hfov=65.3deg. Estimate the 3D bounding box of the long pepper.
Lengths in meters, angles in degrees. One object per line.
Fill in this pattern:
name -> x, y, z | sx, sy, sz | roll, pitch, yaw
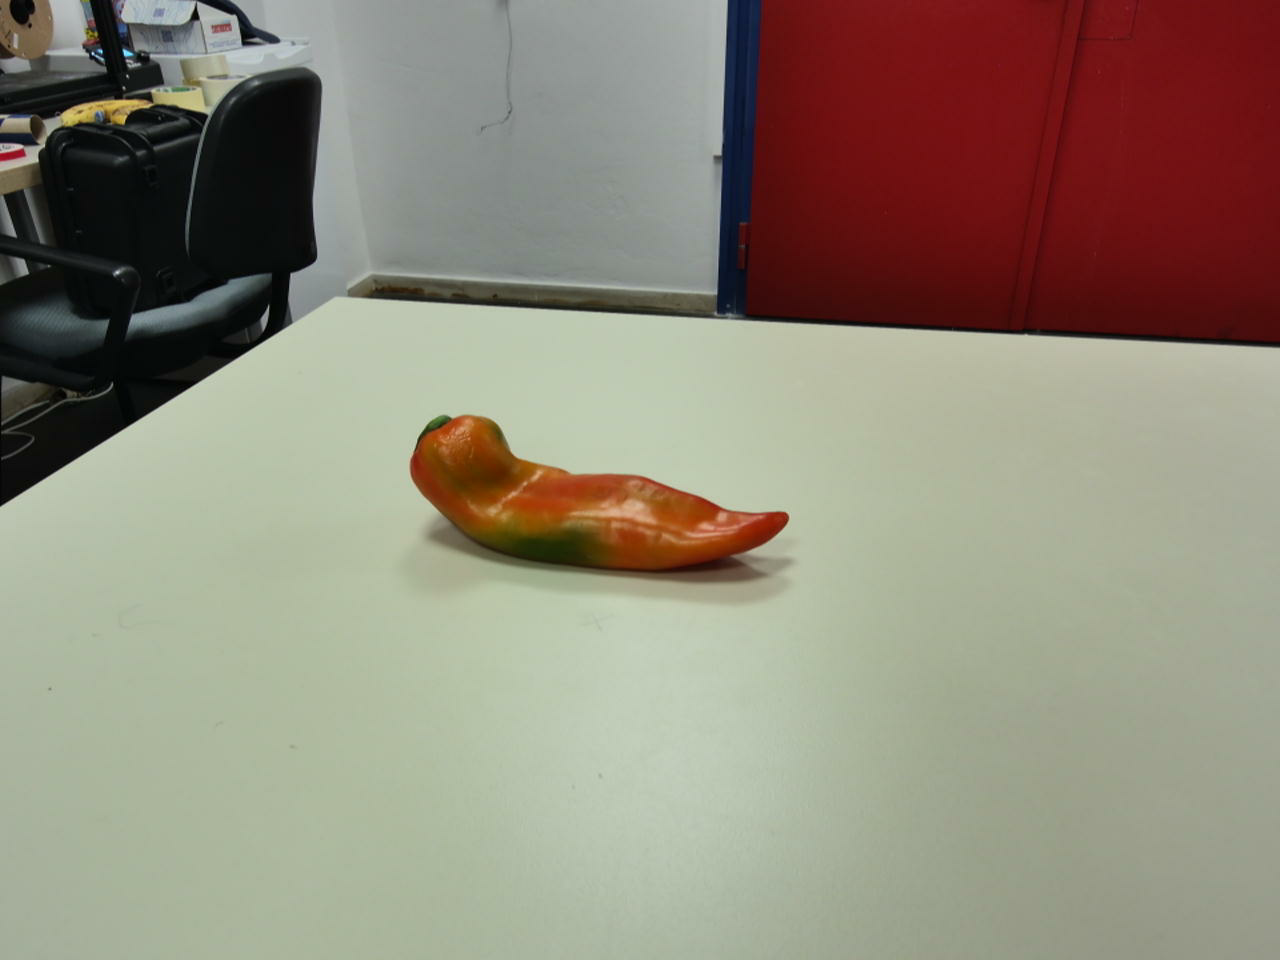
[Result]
long pepper -> -0.024, 0.005, 0.514 | 0.199, 0.065, 0.066 | 7, 27, 16
